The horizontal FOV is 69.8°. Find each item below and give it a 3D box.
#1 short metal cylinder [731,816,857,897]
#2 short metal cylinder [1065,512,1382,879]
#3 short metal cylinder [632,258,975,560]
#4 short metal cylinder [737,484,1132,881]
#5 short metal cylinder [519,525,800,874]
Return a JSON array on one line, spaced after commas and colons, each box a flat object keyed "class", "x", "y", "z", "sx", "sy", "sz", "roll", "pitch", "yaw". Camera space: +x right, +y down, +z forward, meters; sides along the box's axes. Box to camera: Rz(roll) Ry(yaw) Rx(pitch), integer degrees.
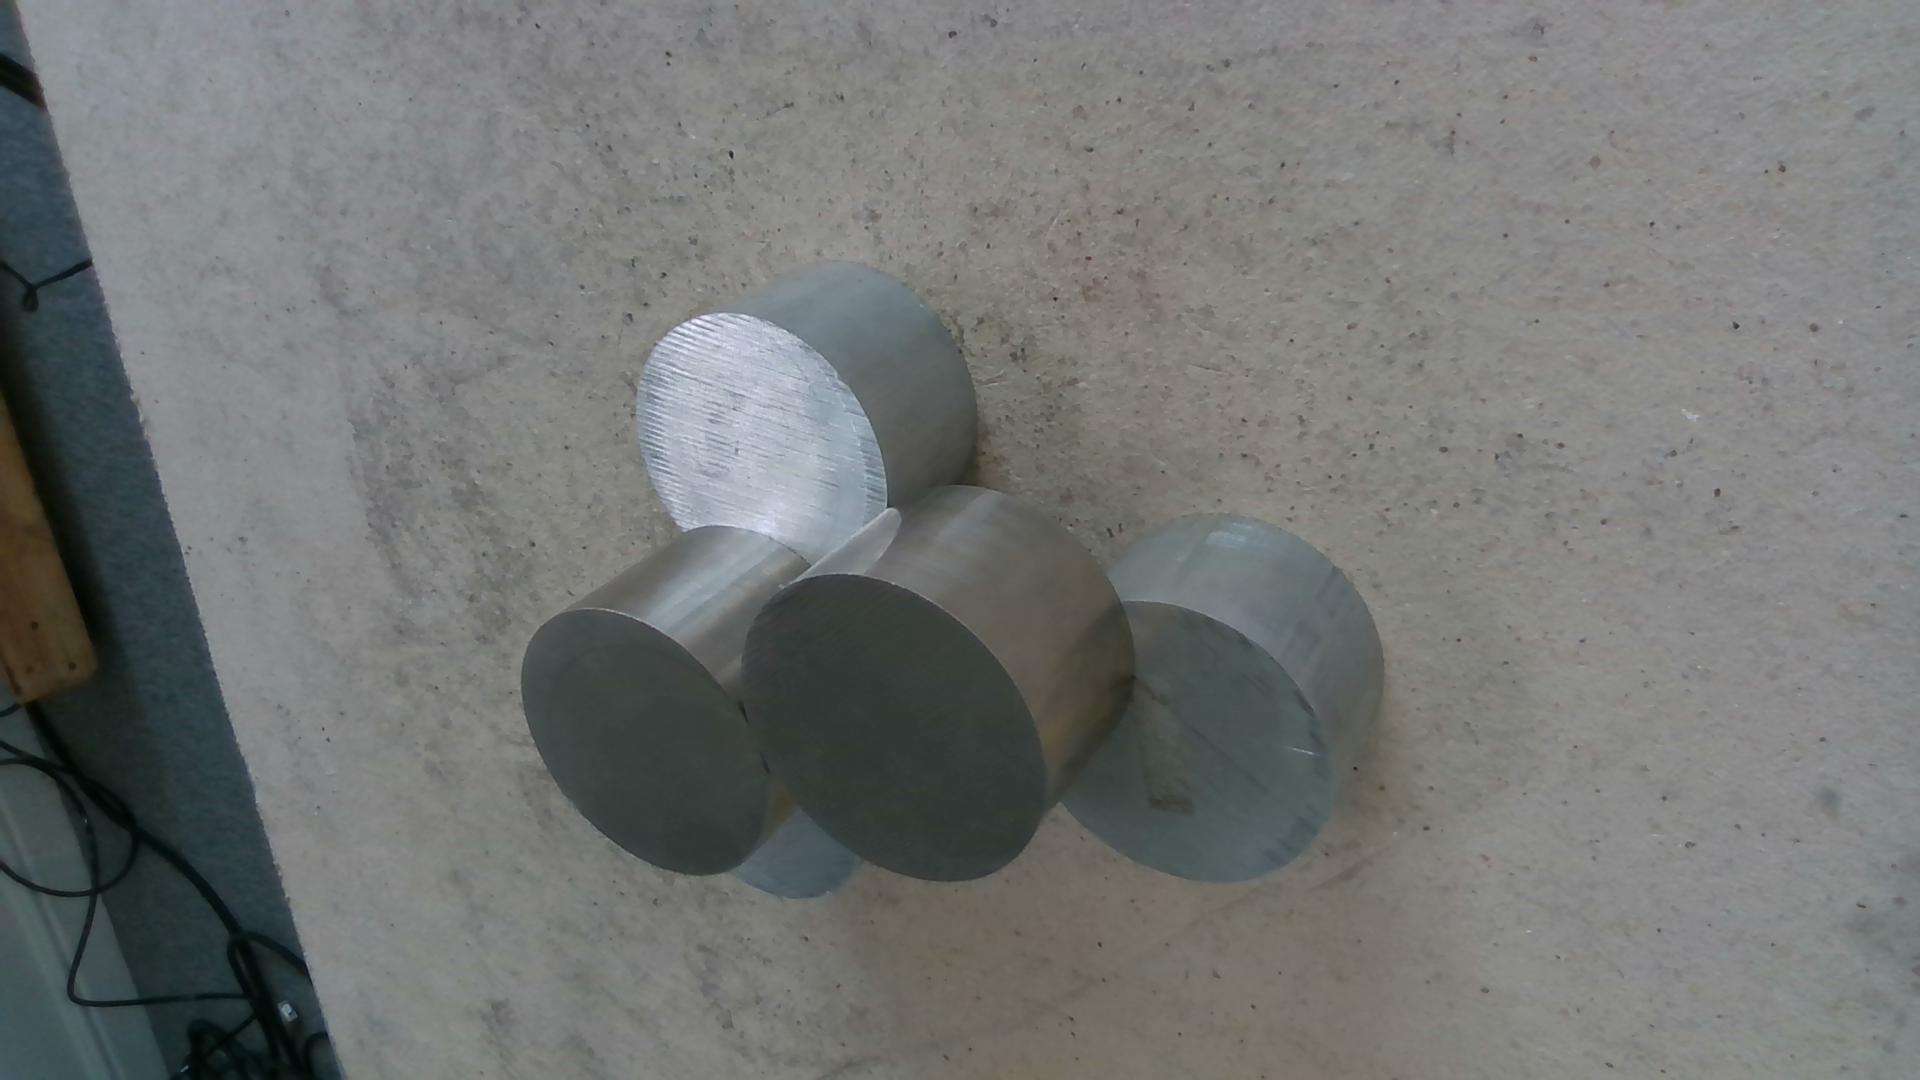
[{"class": "short metal cylinder", "x": -0.052, "y": 0.066, "z": 0.441, "sx": 0.080, "sy": 0.050, "sz": 0.080, "roll": 15, "pitch": 122, "yaw": 25}, {"class": "short metal cylinder", "x": 0.063, "y": 0.040, "z": 0.356, "sx": 0.080, "sy": 0.050, "sz": 0.080, "roll": 15, "pitch": 122, "yaw": 25}, {"class": "short metal cylinder", "x": -0.043, "y": -0.033, "z": 0.381, "sx": 0.080, "sy": 0.050, "sz": 0.080, "roll": 15, "pitch": 122, "yaw": 25}, {"class": "short metal cylinder", "x": -0.006, "y": 0.033, "z": 0.329, "sx": 0.080, "sy": 0.050, "sz": 0.080, "roll": 14, "pitch": 121, "yaw": 25}, {"class": "short metal cylinder", "x": -0.071, "y": 0.043, "z": 0.374, "sx": 0.080, "sy": 0.050, "sz": 0.080, "roll": 15, "pitch": 122, "yaw": 24}]
